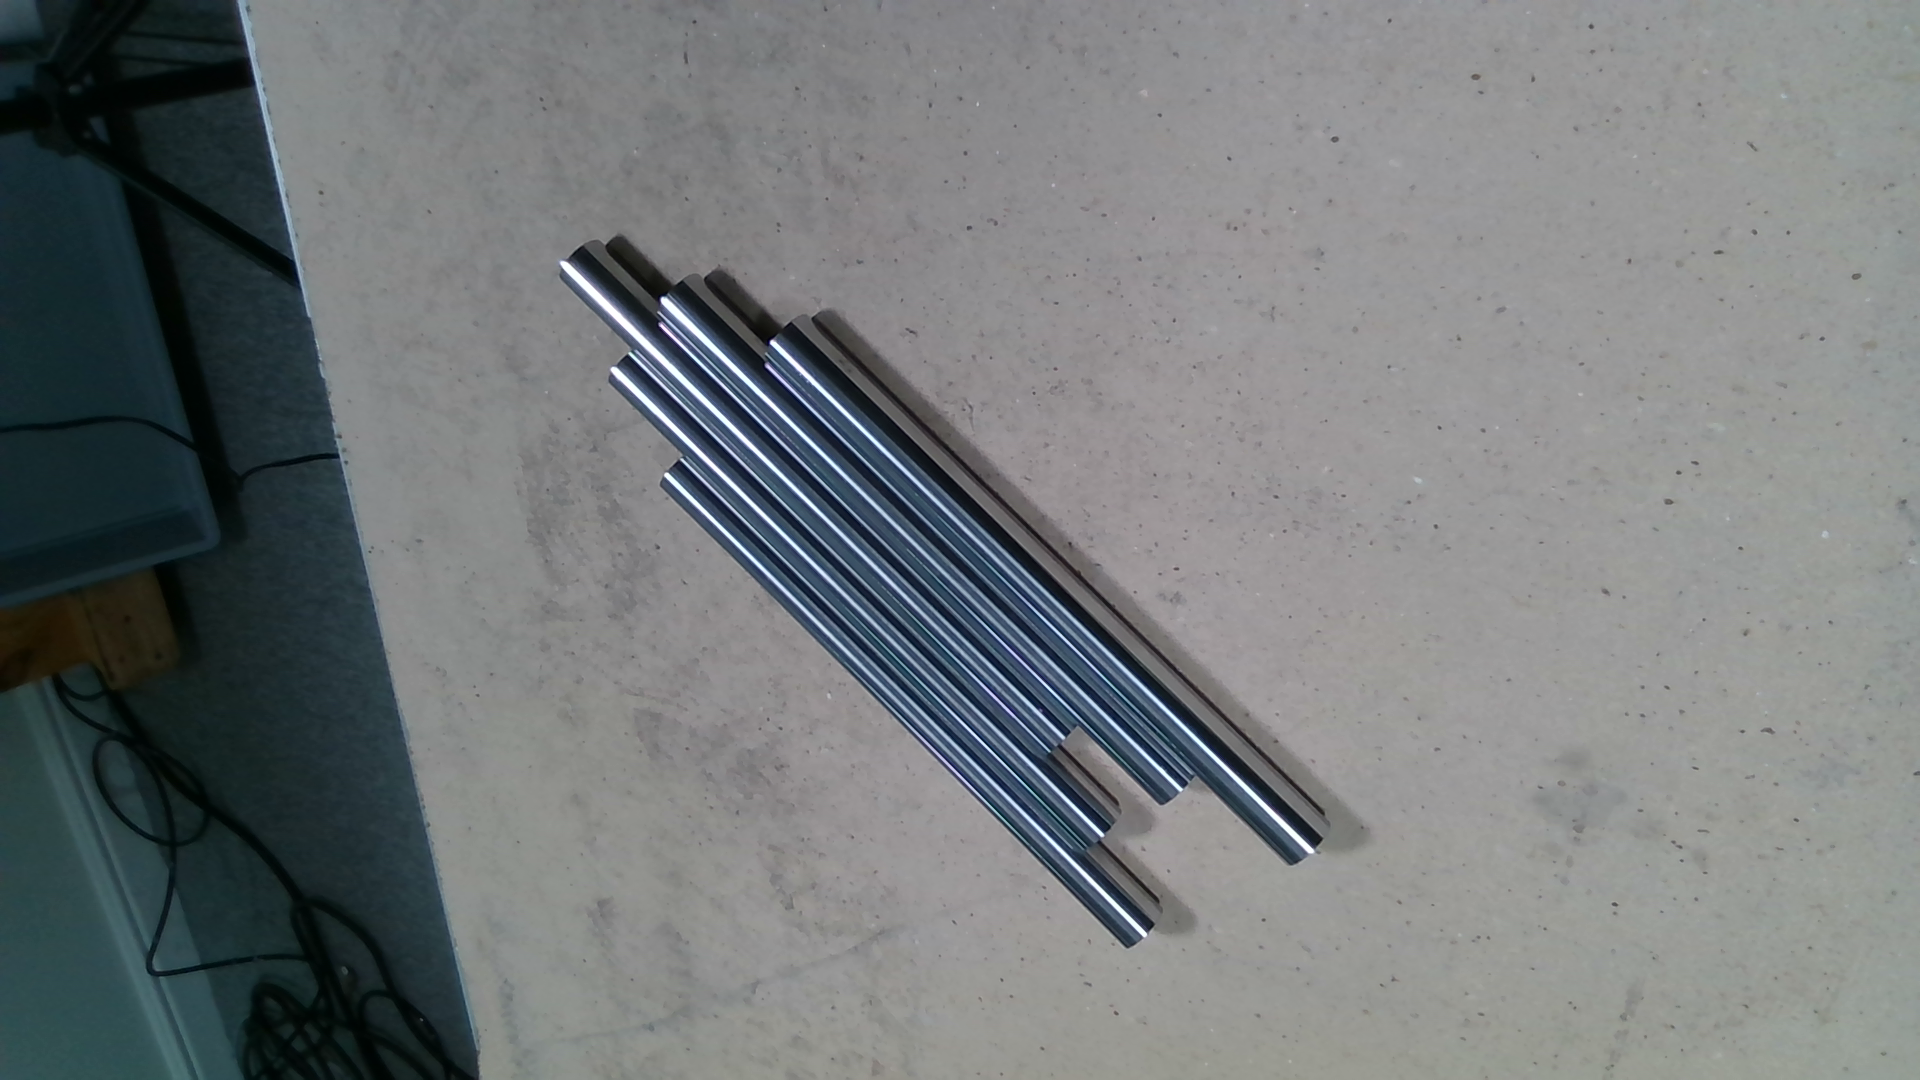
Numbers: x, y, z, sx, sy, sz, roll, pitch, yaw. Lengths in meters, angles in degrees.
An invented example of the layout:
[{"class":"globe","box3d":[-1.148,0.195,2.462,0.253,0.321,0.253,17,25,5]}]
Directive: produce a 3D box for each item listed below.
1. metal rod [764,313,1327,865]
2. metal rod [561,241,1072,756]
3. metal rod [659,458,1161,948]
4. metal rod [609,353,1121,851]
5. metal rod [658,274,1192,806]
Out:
[{"class":"metal rod","box3d":[0.034,0.019,0.570,0.300,0.025,0.025,44,129,3]},{"class":"metal rod","box3d":[-0.062,-0.020,0.607,0.300,0.025,0.025,44,129,3]},{"class":"metal rod","box3d":[-0.024,0.071,0.633,0.300,0.025,0.025,44,129,3]},{"class":"metal rod","box3d":[-0.044,0.025,0.620,0.300,0.025,0.025,44,129,3]},{"class":"metal rod","box3d":[-0.015,-0.001,0.588,0.300,0.025,0.025,44,129,3]}]
